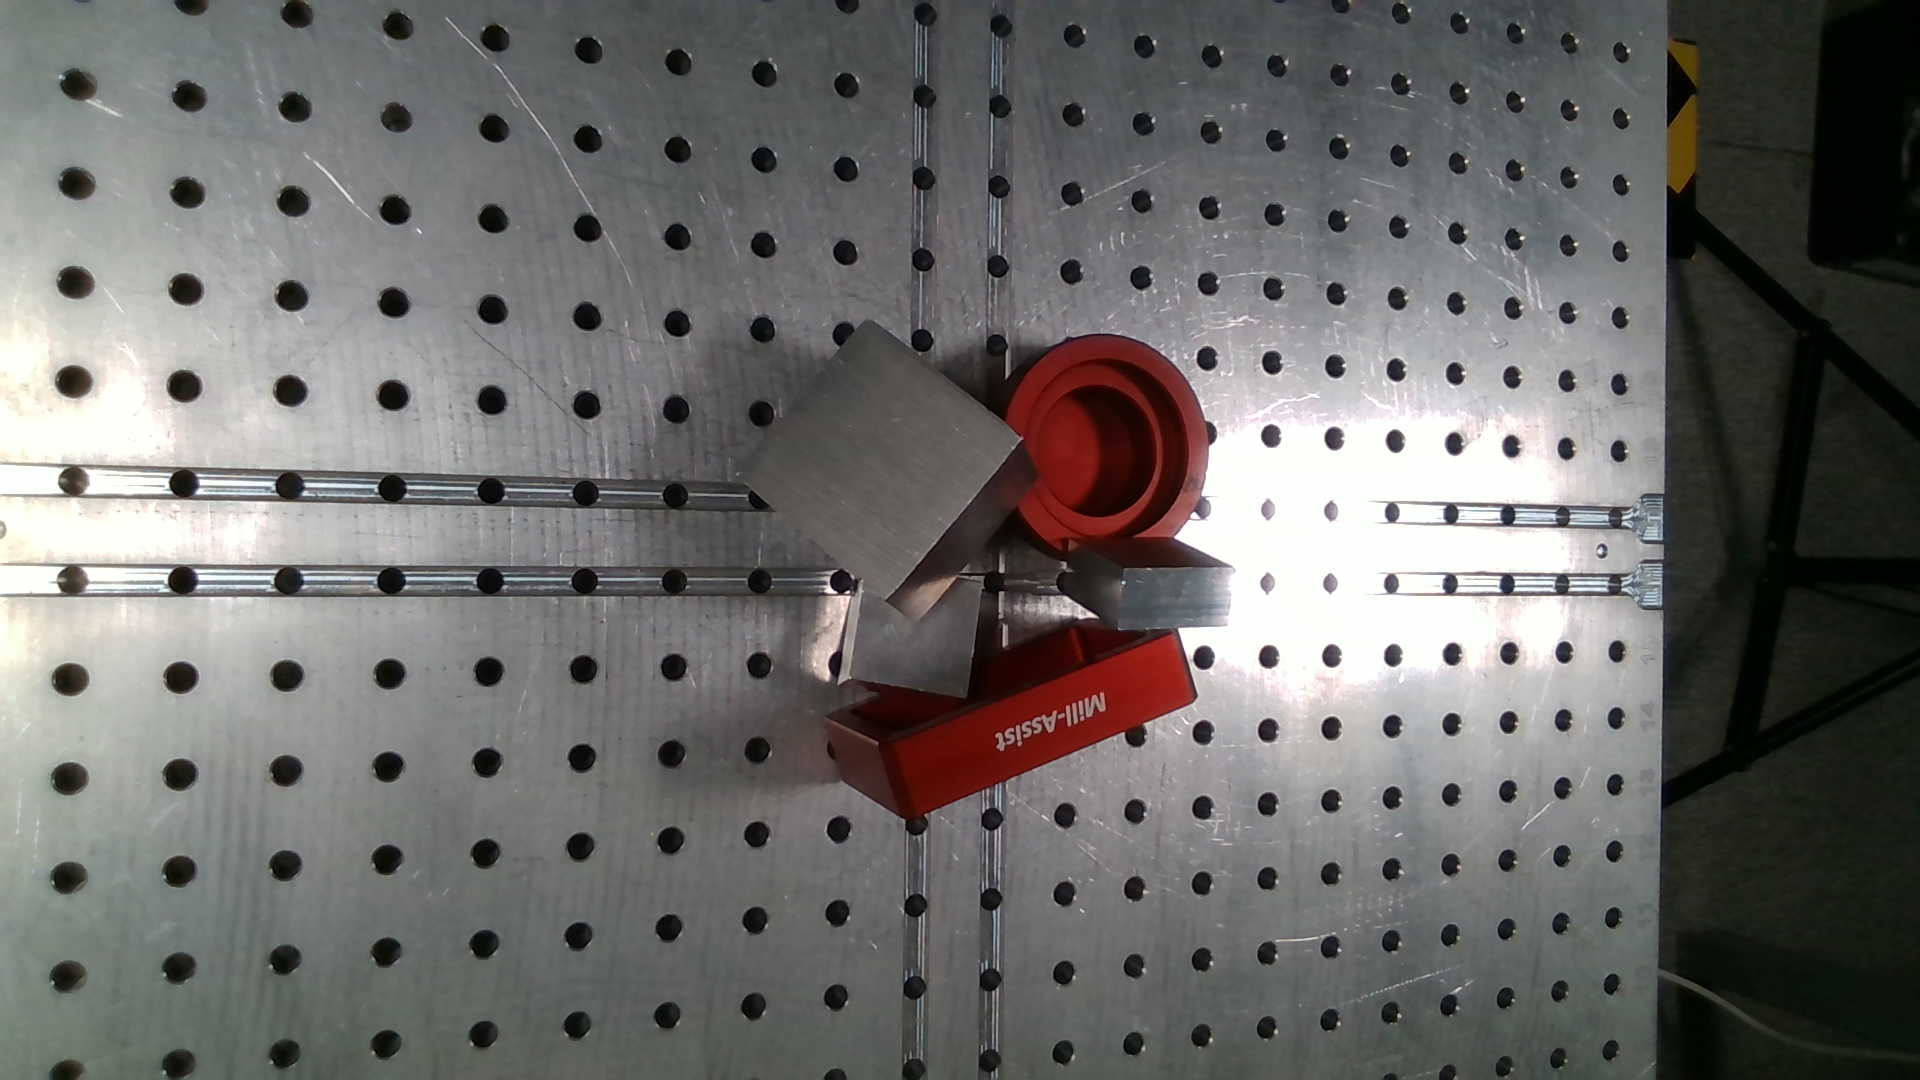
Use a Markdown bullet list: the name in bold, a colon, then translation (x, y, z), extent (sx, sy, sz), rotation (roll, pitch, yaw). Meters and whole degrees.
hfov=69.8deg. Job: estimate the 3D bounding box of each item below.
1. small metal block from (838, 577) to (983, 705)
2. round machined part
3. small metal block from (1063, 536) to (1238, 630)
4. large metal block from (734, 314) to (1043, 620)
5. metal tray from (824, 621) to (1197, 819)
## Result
- **small metal block**: translation (-0.021, 0.040, 0.576), extent (0.050, 0.025, 0.050), rotation (12, 75, -16)
- **round machined part**: translation (0.056, -0.039, 0.599), extent (0.098, 0.042, 0.098), rotation (0, 90, -20)
- **small metal block**: translation (0.076, 0.016, 0.560), extent (0.050, 0.050, 0.025), rotation (0, 104, -22)
- **large metal block**: translation (-0.026, -0.027, 0.541), extent (0.080, 0.050, 0.080), rotation (39, 88, 16)
- **metal tray**: translation (0.019, 0.068, 0.561), extent (0.130, 0.090, 0.030), rotation (-19, 96, -19)
